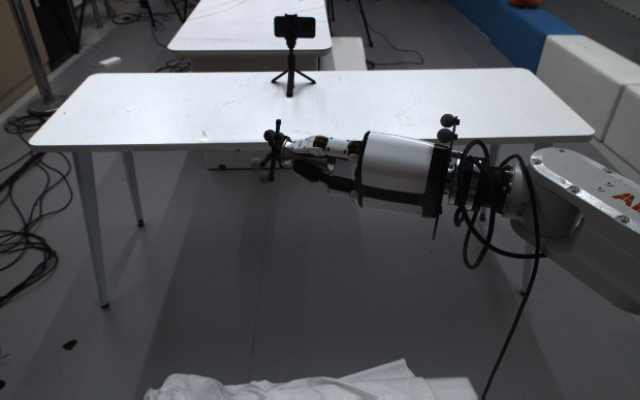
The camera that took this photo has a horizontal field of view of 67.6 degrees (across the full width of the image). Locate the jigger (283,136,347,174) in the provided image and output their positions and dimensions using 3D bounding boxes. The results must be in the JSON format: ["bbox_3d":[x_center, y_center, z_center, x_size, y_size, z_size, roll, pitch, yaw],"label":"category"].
[{"bbox_3d":[-0.010,-0.066,0.668,0.071,0.043,0.043,9,35,16],"label":"jigger"}]
